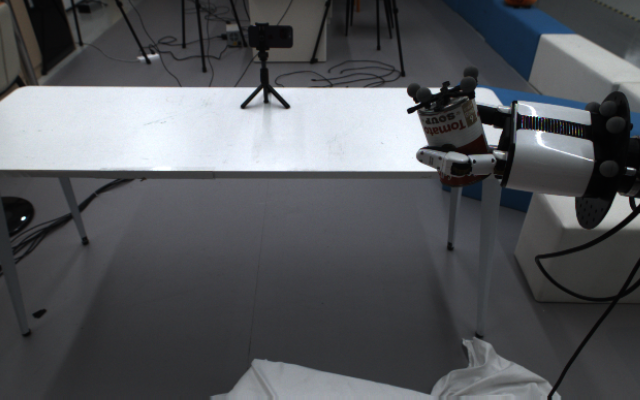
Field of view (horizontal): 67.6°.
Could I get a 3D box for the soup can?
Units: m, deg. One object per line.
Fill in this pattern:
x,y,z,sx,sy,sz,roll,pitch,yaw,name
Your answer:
0.166,-0.077,0.589,0.067,0.101,0.067,-22,24,10,soup can
